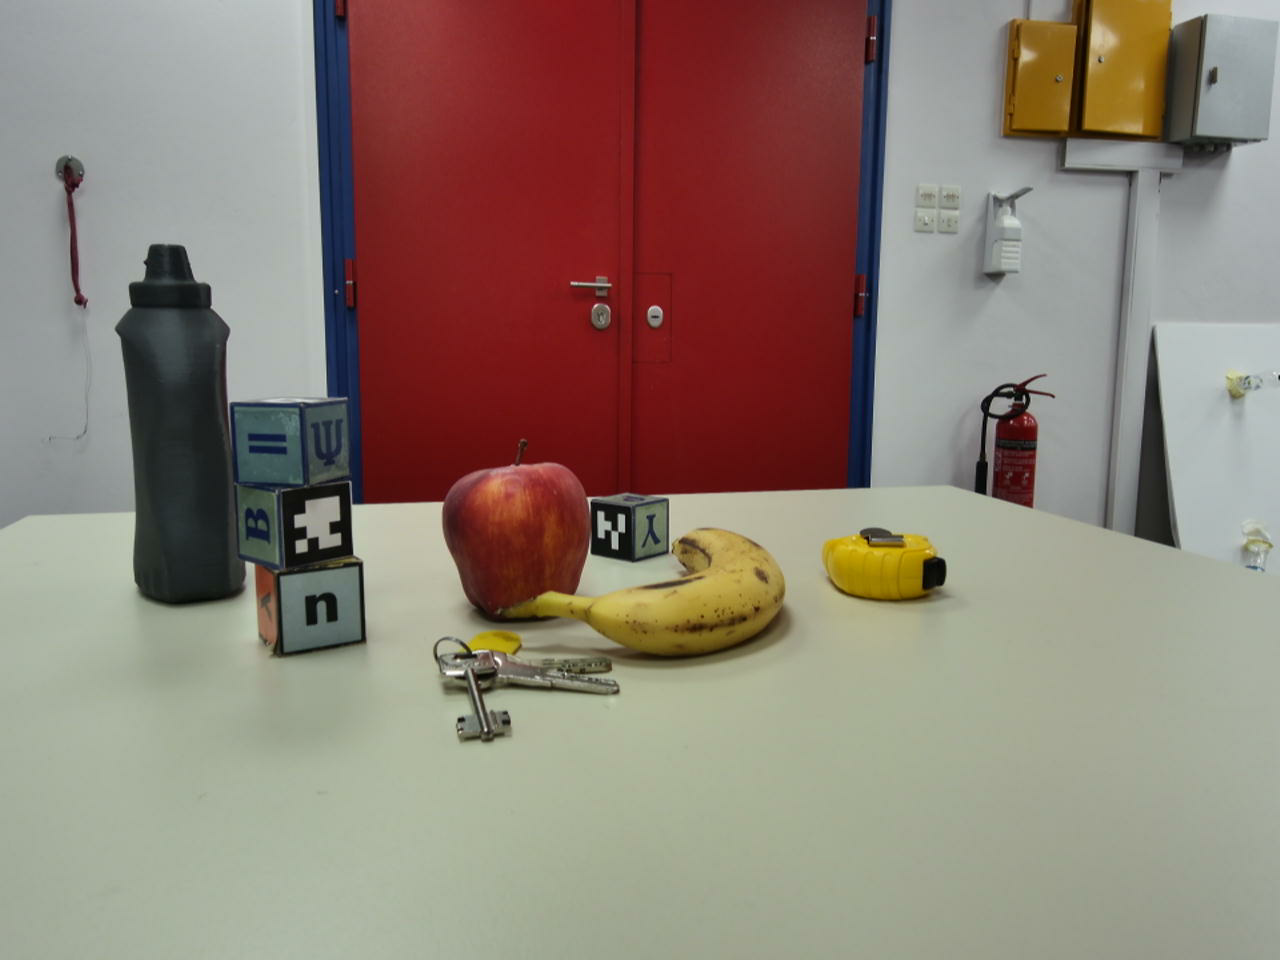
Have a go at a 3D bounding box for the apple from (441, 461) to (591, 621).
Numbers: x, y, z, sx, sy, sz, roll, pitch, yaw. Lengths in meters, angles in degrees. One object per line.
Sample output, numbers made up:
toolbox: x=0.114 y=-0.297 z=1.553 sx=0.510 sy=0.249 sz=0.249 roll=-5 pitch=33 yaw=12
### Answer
apple: x=-0.065 y=0.024 z=0.520 sx=0.083 sy=0.090 sz=0.083 roll=0 pitch=6 yaw=0
